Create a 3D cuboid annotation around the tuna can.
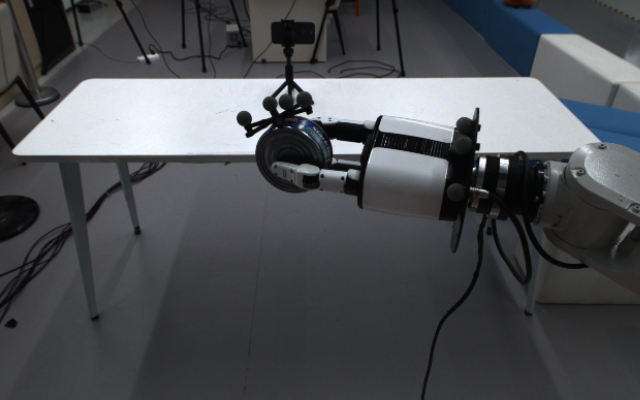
[{"bbox_3d":[-0.026,-0.046,0.559,0.085,0.085,0.034,11,34,13],"label":"tuna can"}]
